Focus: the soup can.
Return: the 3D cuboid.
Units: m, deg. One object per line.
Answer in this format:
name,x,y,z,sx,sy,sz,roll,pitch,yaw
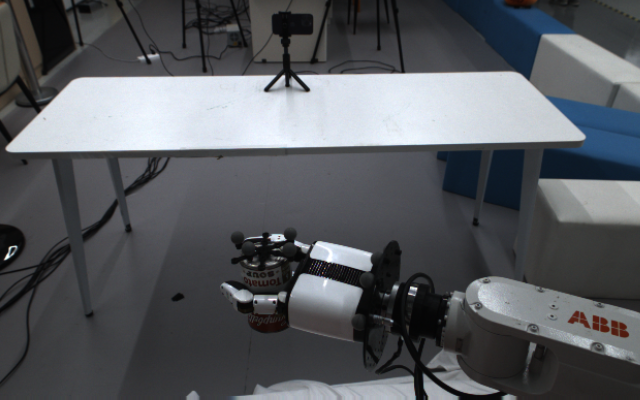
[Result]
soup can,-0.067,0.114,0.638,0.067,0.101,0.067,-4,26,2
